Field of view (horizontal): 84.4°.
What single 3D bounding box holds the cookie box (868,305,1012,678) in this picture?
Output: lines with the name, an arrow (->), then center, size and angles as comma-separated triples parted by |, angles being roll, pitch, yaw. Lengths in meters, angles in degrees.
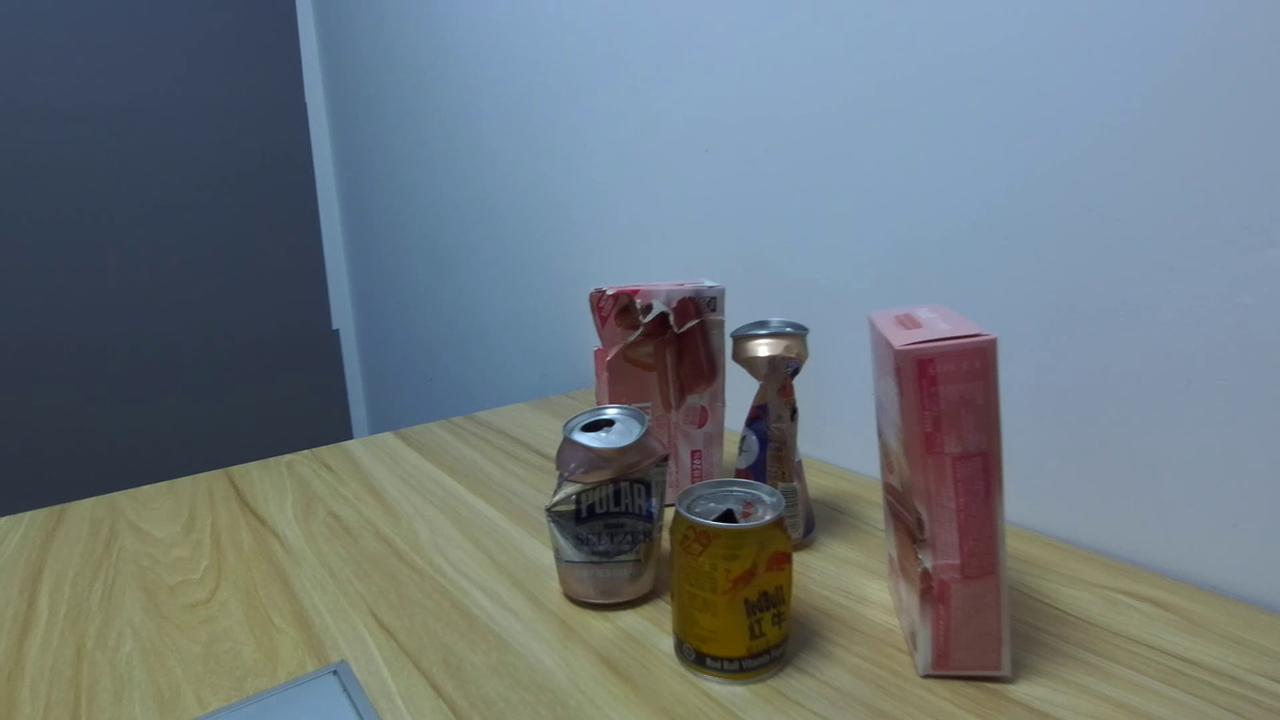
cookie box -> 0.166, 0.071, 0.393 | 0.049, 0.187, 0.105 | -6, 12, 12

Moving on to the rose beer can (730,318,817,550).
rose beer can -> 0.098, 0.054, 0.520 | 0.068, 0.162, 0.073 | -10, 13, -28

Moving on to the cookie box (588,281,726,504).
cookie box -> 0.017, 0.030, 0.584 | 0.105, 0.186, 0.059 | -6, 12, -9

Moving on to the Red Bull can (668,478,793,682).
Red Bull can -> 0.050, 0.121, 0.395 | 0.069, 0.092, 0.069 | -2, 14, 1

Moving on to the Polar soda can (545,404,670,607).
Polar soda can -> -0.022, 0.097, 0.457 | 0.066, 0.122, 0.071 | 17, 24, 41
